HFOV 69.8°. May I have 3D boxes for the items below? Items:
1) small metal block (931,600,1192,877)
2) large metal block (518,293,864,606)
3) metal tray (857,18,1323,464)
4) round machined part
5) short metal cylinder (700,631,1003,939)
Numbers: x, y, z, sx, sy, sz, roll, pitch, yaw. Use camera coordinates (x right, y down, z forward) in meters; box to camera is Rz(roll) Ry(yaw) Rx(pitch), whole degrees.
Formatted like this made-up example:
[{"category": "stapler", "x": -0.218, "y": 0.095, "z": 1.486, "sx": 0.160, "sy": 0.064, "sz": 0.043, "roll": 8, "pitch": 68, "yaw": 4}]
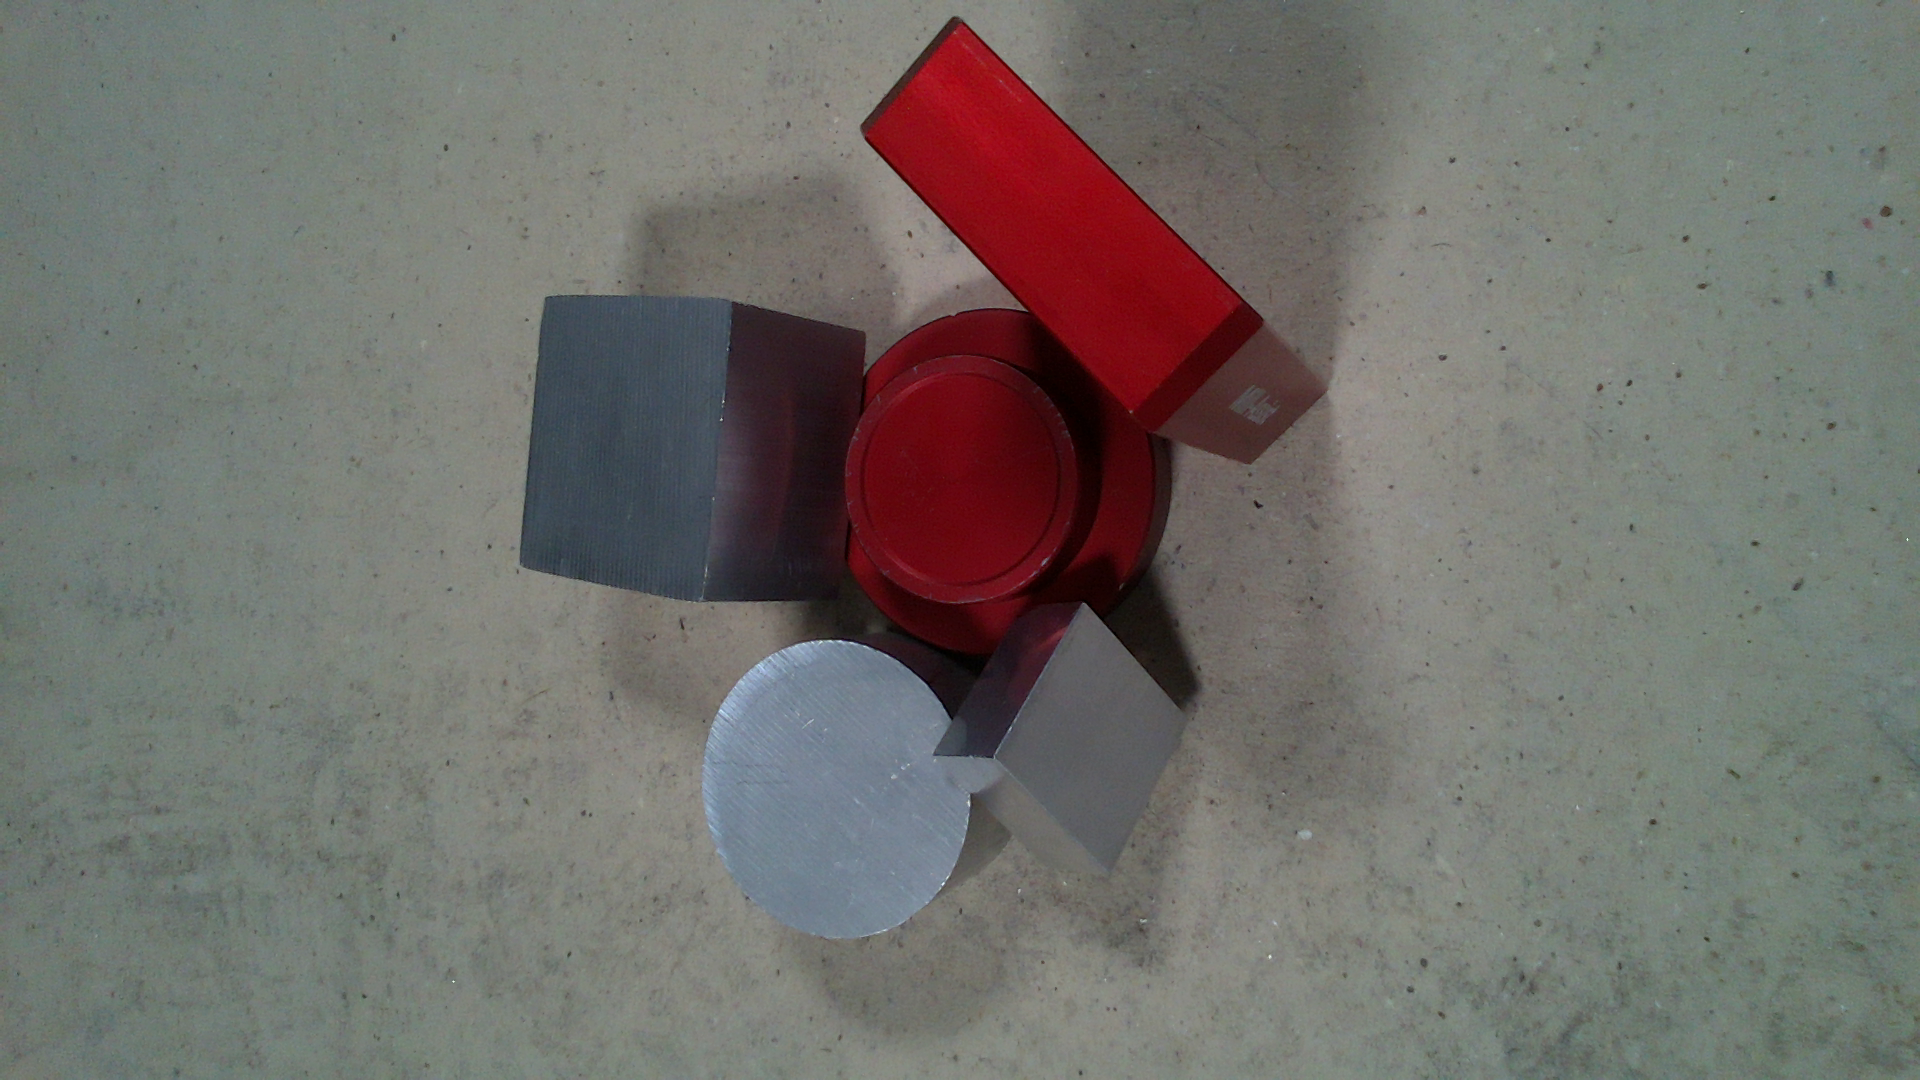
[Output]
[{"category": "small metal block", "x": 0.028, "y": 0.052, "z": 0.361, "sx": 0.025, "sy": 0.050, "sz": 0.050, "roll": -8, "pitch": 131, "yaw": 50}, {"category": "large metal block", "x": -0.079, "y": -0.027, "z": 0.398, "sx": 0.080, "sy": 0.050, "sz": 0.080, "roll": 8, "pitch": 93, "yaw": 37}, {"category": "metal tray", "x": 0.038, "y": -0.063, "z": 0.325, "sx": 0.030, "sy": 0.130, "sz": 0.090, "roll": -46, "pitch": 76, "yaw": 14}, {"category": "round machined part", "x": 0.007, "y": -0.017, "z": 0.385, "sx": 0.098, "sy": 0.042, "sz": 0.098, "roll": 0, "pitch": 90, "yaw": 20}, {"category": "short metal cylinder", "x": -0.026, "y": 0.067, "z": 0.393, "sx": 0.080, "sy": 0.050, "sz": 0.080, "roll": 0, "pitch": 90, "yaw": 20}]
